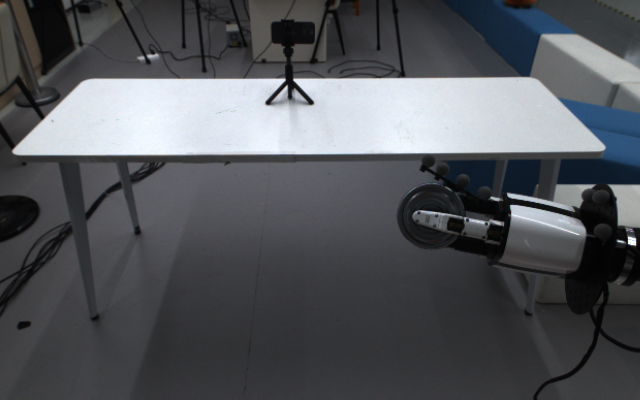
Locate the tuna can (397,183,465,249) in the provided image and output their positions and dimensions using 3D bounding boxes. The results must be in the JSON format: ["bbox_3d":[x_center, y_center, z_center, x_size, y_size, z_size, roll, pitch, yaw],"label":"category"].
[{"bbox_3d":[0.145,0.018,0.621,0.085,0.085,0.034,13,4,15],"label":"tuna can"}]
